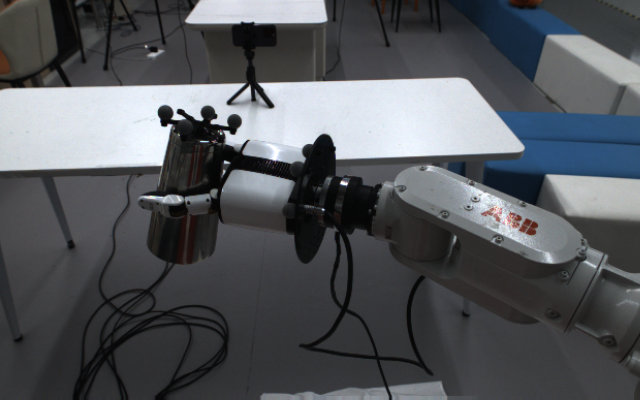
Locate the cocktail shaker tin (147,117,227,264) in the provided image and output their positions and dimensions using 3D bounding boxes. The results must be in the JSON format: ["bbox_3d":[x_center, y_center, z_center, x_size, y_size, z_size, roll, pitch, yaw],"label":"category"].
[{"bbox_3d":[-0.166,-0.013,0.624,0.093,0.170,0.093,12,29,-7],"label":"cocktail shaker tin"}]
